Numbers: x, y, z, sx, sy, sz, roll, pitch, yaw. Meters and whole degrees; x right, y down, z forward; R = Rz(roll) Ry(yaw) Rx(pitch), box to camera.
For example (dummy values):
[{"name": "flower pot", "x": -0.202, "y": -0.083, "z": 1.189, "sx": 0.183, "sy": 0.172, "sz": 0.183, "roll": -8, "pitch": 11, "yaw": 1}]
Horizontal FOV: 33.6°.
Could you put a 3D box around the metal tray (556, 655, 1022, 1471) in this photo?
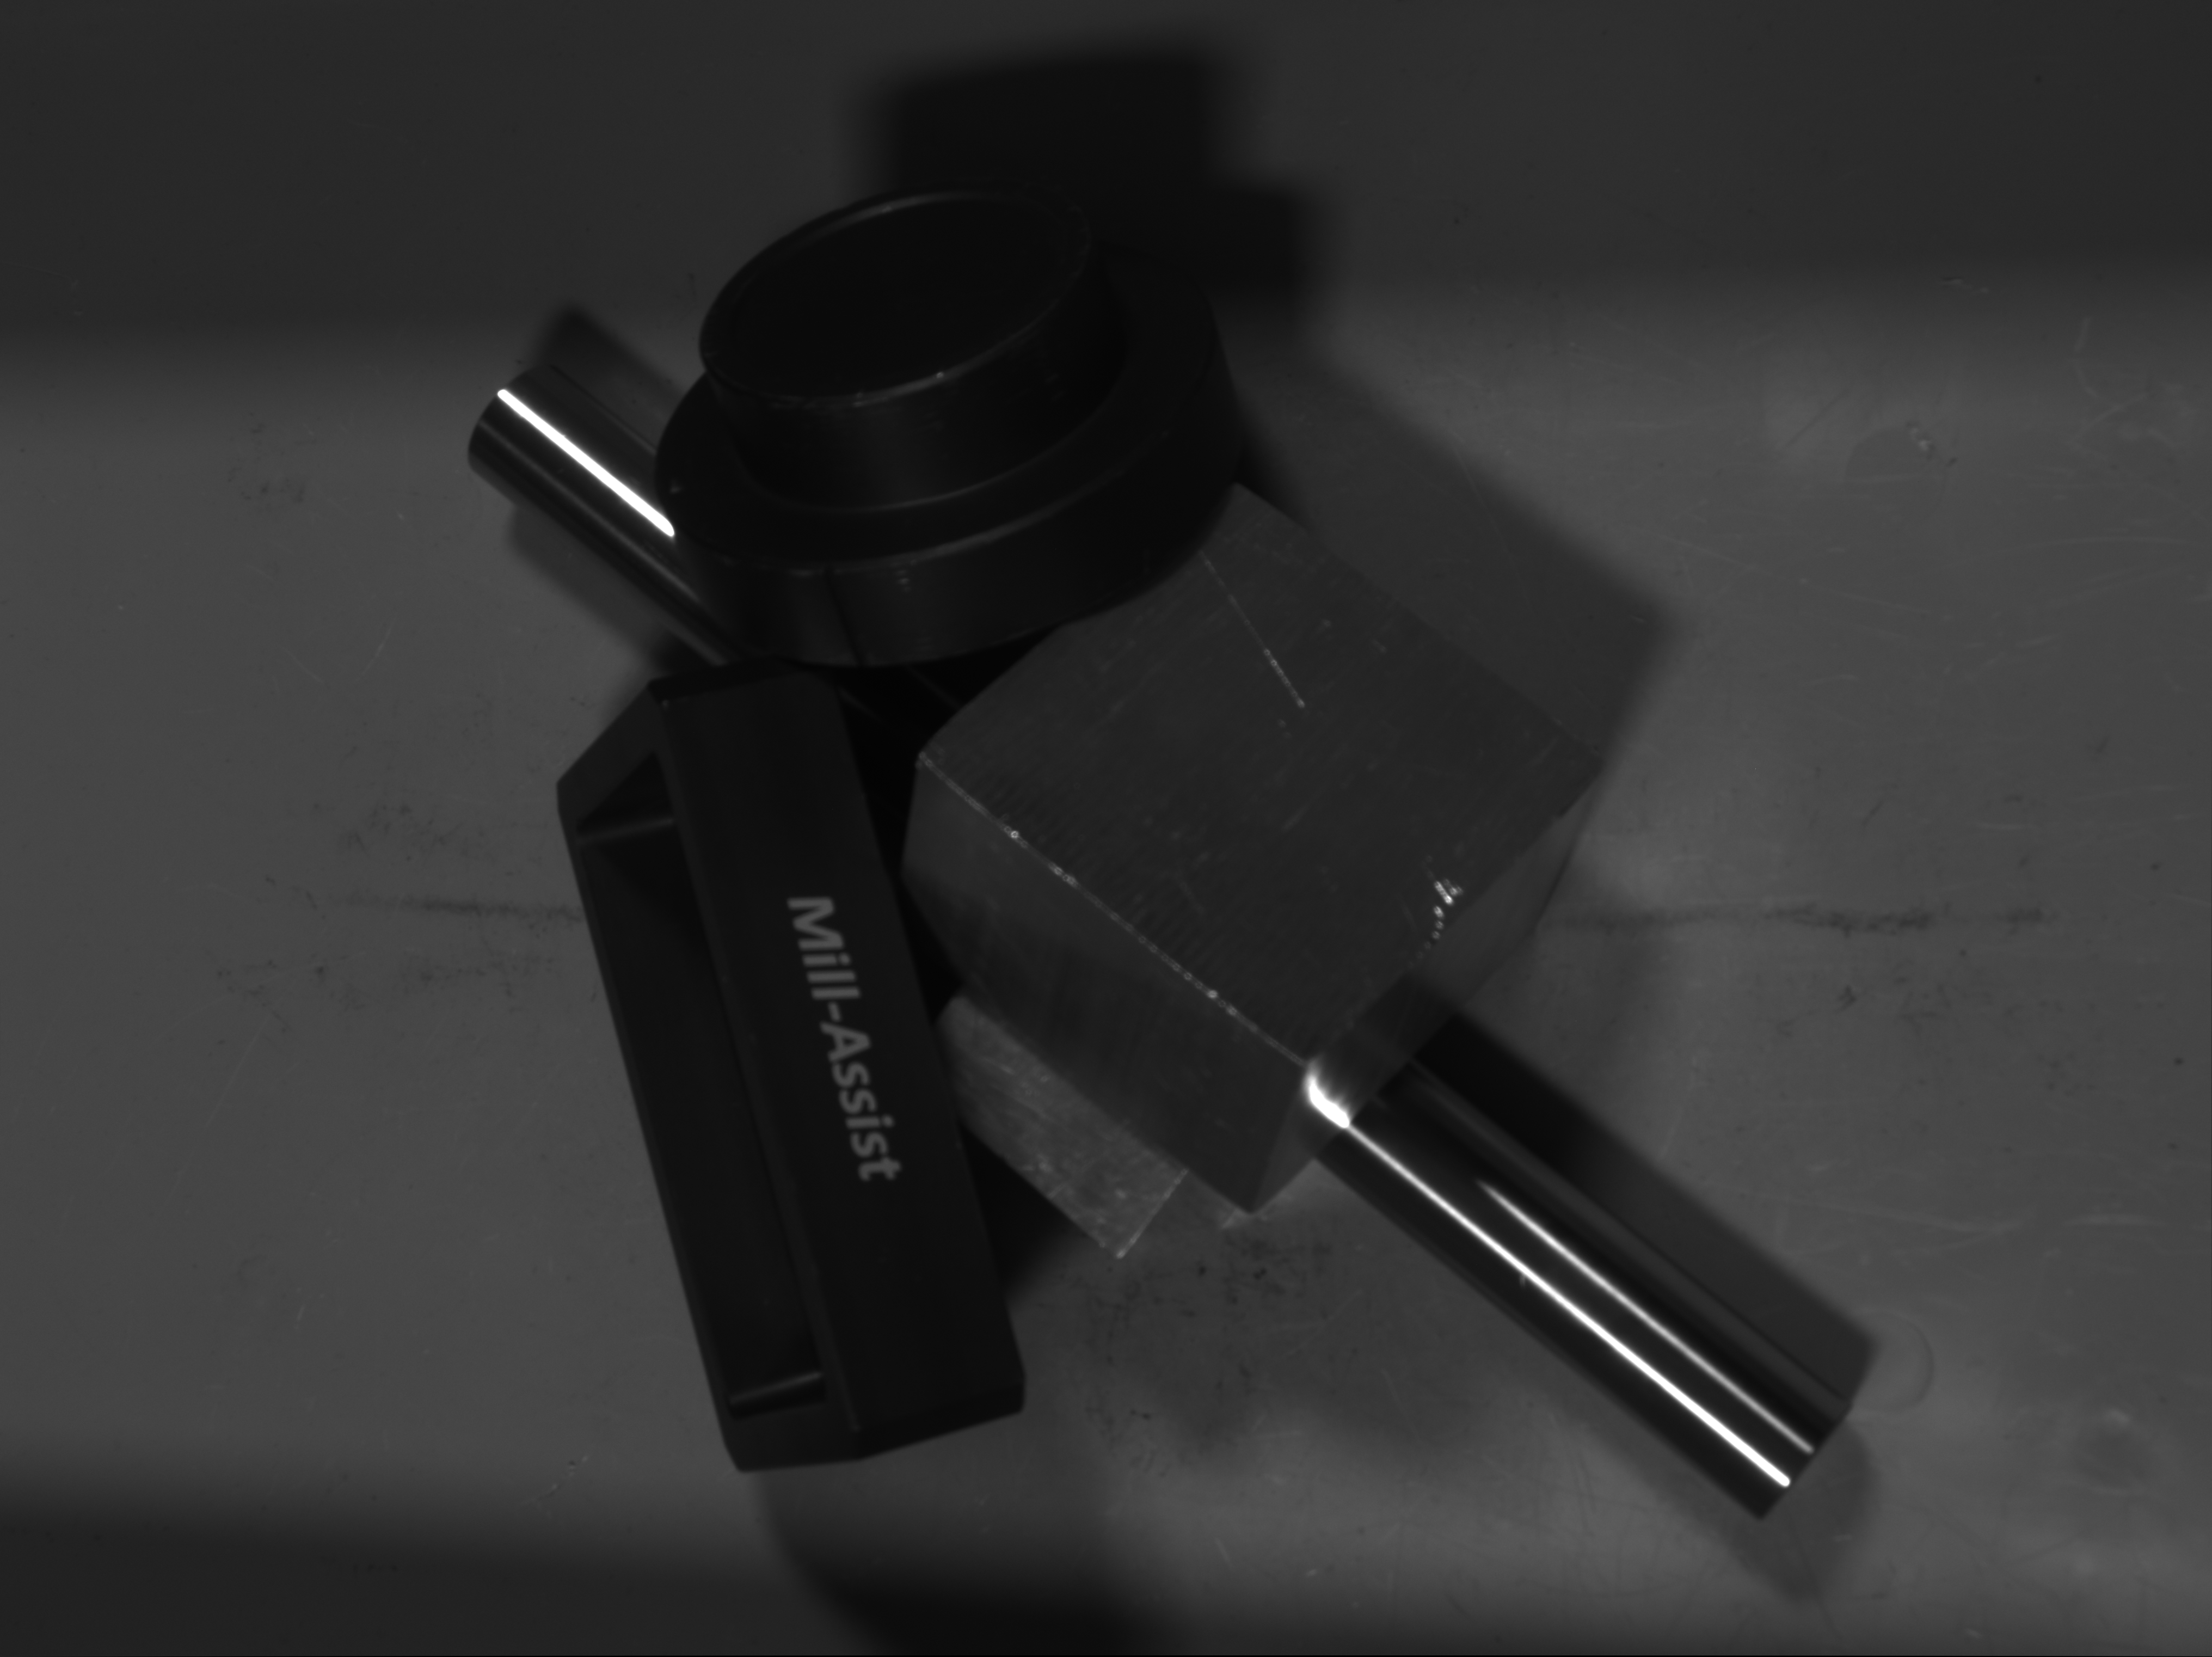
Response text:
[{"name": "metal tray", "x": -0.057, "y": 0.043, "z": 0.631, "sx": 0.030, "sy": 0.090, "sz": 0.130, "roll": -13, "pitch": 84, "yaw": -21}]

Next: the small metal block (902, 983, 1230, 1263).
[{"name": "small metal block", "x": 0.000, "y": 0.046, "z": 0.630, "sx": 0.050, "sy": 0.050, "sz": 0.025, "roll": 40, "pitch": 102, "yaw": 16}]

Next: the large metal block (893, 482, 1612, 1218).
[{"name": "large metal block", "x": 0.022, "y": 0.002, "z": 0.601, "sx": 0.080, "sy": 0.050, "sz": 0.080, "roll": 39, "pitch": 59, "yaw": 16}]

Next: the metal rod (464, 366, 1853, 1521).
[{"name": "metal rod", "x": 0.002, "y": 0.014, "z": 0.642, "sx": 0.300, "sy": 0.025, "sz": 0.025, "roll": 39, "pitch": 102, "yaw": 16}]

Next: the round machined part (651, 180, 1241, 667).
[{"name": "round machined part", "x": -0.030, "y": -0.073, "z": 0.613, "sx": 0.098, "sy": 0.098, "sz": 0.042, "roll": -2, "pitch": 130, "yaw": 20}]
